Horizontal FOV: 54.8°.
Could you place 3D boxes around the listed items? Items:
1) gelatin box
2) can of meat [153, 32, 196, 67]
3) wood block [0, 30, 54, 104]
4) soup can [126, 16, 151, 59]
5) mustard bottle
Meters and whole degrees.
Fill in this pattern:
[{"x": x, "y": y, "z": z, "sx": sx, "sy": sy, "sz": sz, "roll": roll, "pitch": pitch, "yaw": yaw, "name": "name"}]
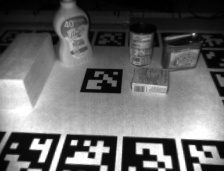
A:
[{"x": 0.084, "y": -0.025, "z": 0.546, "sx": 0.089, "sy": 0.030, "sz": 0.073, "roll": 8, "pitch": 45, "yaw": 13, "name": "gelatin box"}, {"x": 0.168, "y": -0.102, "z": 0.596, "sx": 0.102, "sy": 0.084, "sz": 0.057, "roll": -6, "pitch": 44, "yaw": -9, "name": "can of meat"}, {"x": -0.228, "y": -0.057, "z": 0.548, "sx": 0.091, "sy": 0.090, "sz": 0.205, "roll": 4, "pitch": 39, "yaw": 4, "name": "wood block"}, {"x": 0.072, "y": -0.134, "z": 0.604, "sx": 0.068, "sy": 0.102, "sz": 0.067, "roll": -1, "pitch": 44, "yaw": 2, "name": "soup can"}, {"x": -0.123, "y": -0.159, "z": 0.588, "sx": 0.097, "sy": 0.192, "sz": 0.058, "roll": -15, "pitch": 44, "yaw": -16, "name": "mustard bottle"}]
